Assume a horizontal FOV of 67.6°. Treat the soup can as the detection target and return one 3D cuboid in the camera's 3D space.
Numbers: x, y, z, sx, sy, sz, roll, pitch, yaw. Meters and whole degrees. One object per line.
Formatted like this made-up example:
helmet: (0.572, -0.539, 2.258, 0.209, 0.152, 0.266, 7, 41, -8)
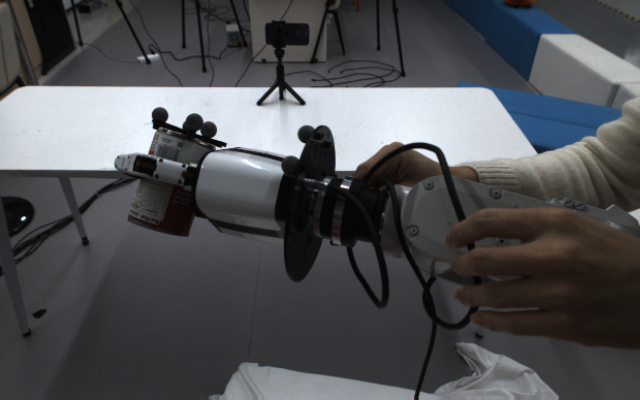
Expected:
soup can: (-0.158, -0.018, 0.523, 0.067, 0.101, 0.067, 17, -1, 0)
